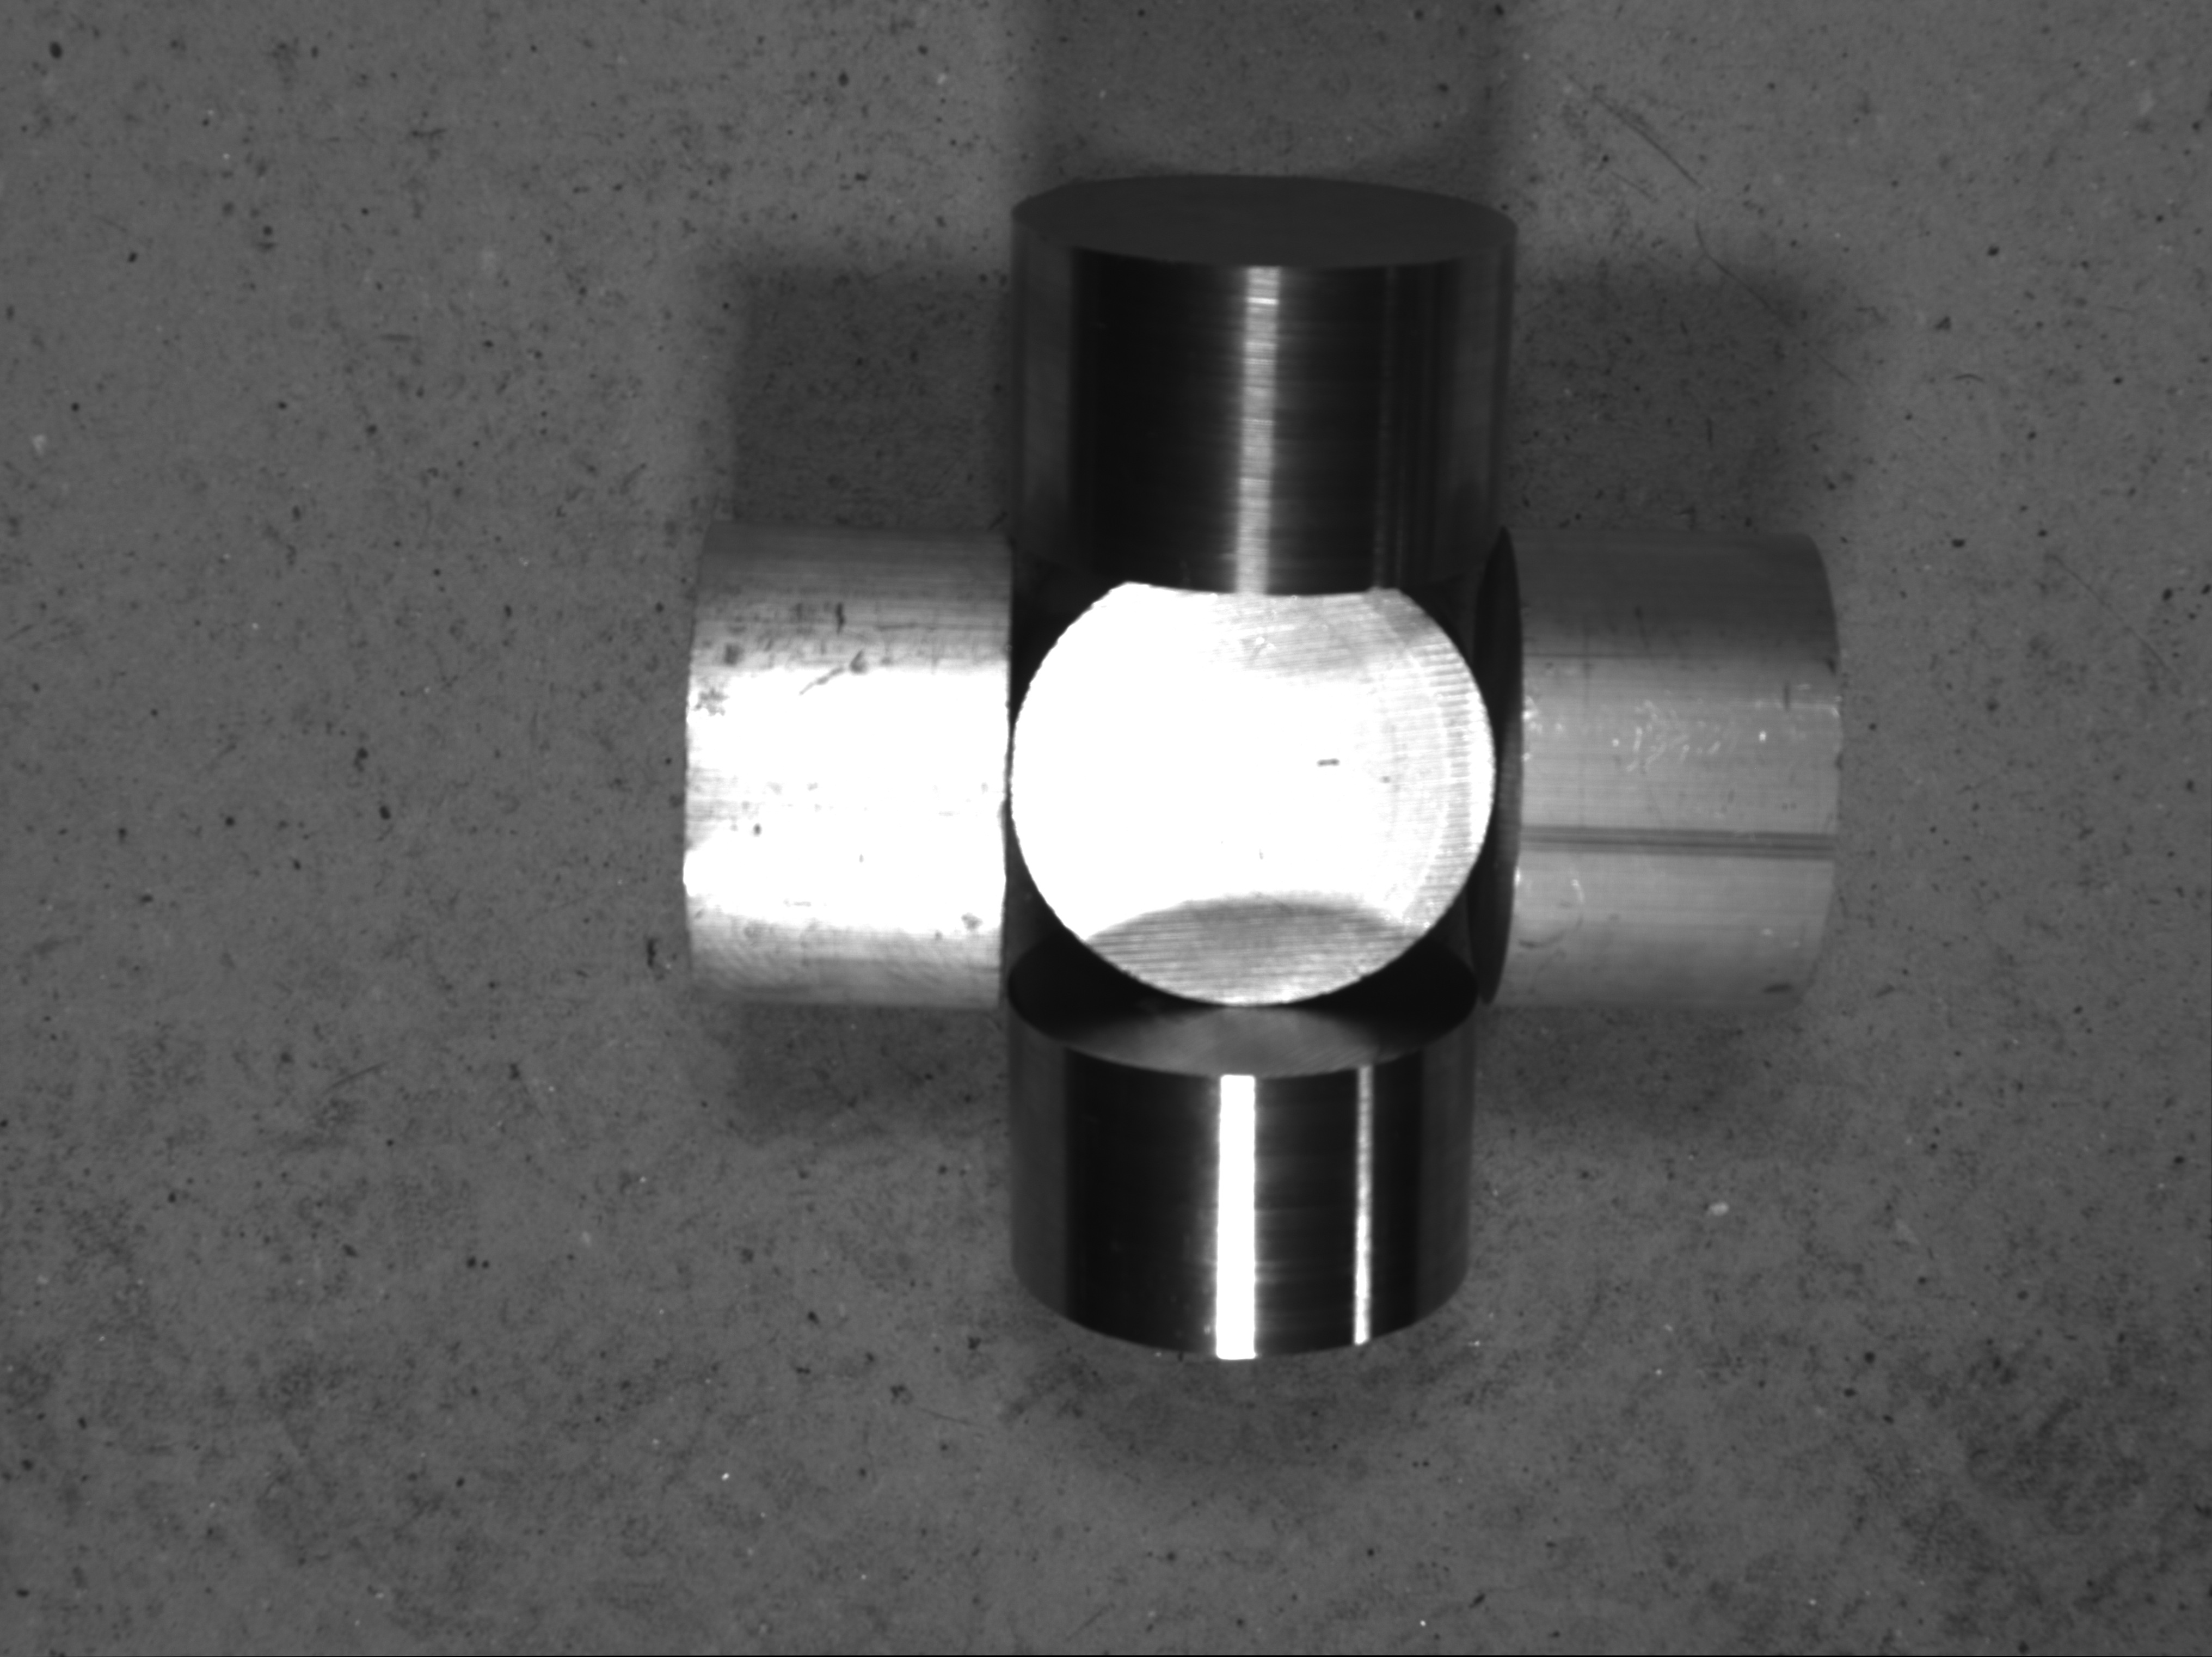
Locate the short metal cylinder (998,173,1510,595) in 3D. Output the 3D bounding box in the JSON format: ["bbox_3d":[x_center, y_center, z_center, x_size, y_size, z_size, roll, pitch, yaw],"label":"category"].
[{"bbox_3d":[0.023,-0.073,0.587,0.080,0.080,0.050,2,110,-1],"label":"short metal cylinder"}]

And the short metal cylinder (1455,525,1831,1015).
[{"bbox_3d":[0.088,-0.010,0.612,0.050,0.080,0.080,2,110,-1],"label":"short metal cylinder"}]

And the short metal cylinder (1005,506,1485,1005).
[{"bbox_3d":[0.022,-0.016,0.625,0.080,0.050,0.080,0,110,-1],"label":"short metal cylinder"}]

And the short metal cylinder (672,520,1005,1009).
[{"bbox_3d":[-0.043,-0.011,0.610,0.050,0.080,0.080,2,110,-1],"label":"short metal cylinder"}]

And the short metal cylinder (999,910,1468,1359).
[{"bbox_3d":[0.022,0.050,0.632,0.080,0.080,0.050,0,109,-1],"label":"short metal cylinder"}]
